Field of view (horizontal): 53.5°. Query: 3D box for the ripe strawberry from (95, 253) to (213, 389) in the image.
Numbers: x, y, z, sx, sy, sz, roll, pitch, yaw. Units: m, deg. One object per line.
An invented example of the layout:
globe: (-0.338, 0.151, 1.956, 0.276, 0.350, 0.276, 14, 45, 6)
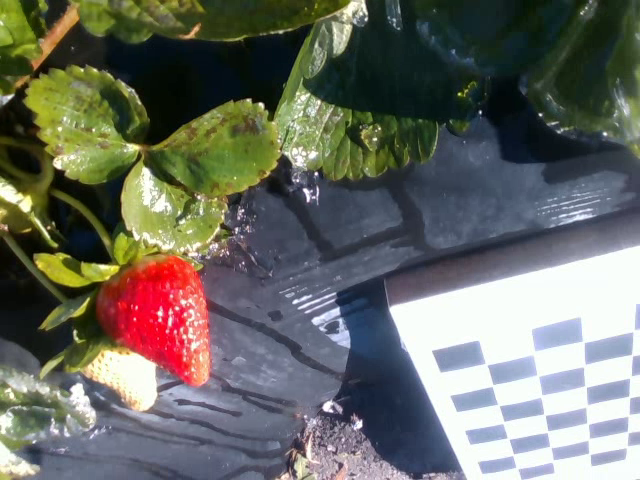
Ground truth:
ripe strawberry: (-0.059, 0.037, 0.256, 0.042, 0.061, 0.046, -26, 2, 22)
